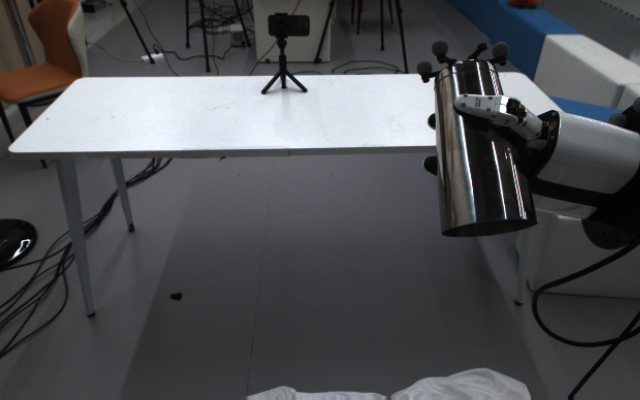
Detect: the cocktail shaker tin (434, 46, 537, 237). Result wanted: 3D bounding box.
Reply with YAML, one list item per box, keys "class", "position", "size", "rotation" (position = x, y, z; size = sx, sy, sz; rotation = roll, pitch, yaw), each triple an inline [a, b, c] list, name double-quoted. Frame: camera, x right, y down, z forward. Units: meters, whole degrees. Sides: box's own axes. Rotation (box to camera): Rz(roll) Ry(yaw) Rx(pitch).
- class: "cocktail shaker tin"
  position: [0.164, -0.053, 0.504]
  size: [0.093, 0.093, 0.170]
  rotation: [-3, 76, -8]
